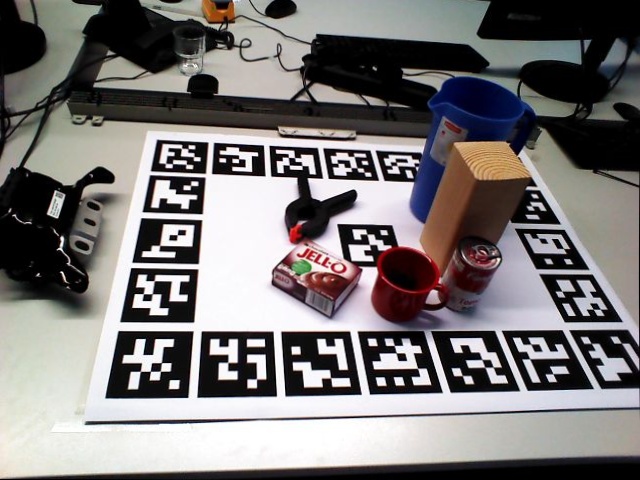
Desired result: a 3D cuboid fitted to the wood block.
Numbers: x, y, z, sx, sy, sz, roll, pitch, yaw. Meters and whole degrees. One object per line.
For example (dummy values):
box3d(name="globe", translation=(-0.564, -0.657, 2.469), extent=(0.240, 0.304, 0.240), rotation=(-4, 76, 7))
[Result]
box3d(name="wood block", translation=(0.262, -0.040, 0.805), extent=(0.090, 0.207, 0.090), rotation=(2, 44, -13))

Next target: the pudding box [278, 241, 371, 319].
box3d(name="pudding box", translation=(0.007, 0.058, 0.791), extent=(0.114, 0.039, 0.089), rotation=(28, 50, 20))

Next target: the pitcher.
box3d(name="pitcher", translation=(0.279, -0.135, 0.883), extent=(0.189, 0.243, 0.132), rotation=(-1, 43, -6))

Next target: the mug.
box3d(name="mug", translation=(0.154, 0.078, 0.759), extent=(0.117, 0.082, 0.092), rotation=(27, 44, 19))

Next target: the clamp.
box3d(name="clamp", translation=(0.014, -0.050, 0.910), extent=(0.122, 0.037, 0.164), rotation=(27, 47, 8))

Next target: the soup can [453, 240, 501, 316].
box3d(name="soup can", translation=(0.246, 0.059, 0.777), extent=(0.068, 0.102, 0.067), rotation=(4, 47, -5))
